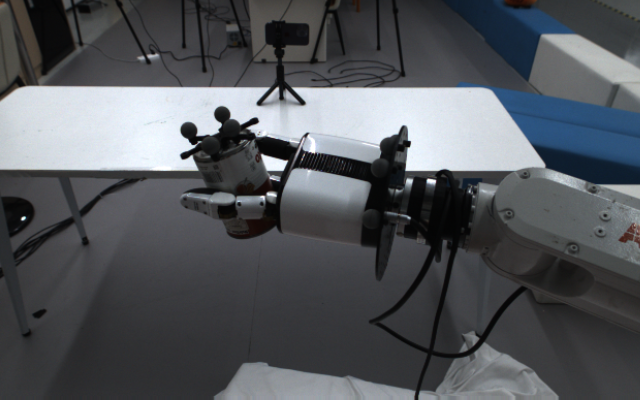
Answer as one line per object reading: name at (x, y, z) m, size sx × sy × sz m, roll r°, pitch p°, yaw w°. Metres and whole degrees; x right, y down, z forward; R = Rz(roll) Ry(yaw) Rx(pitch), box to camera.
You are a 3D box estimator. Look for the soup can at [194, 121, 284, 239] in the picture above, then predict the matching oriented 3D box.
soup can at (-0.086, -0.017, 0.526) m, size 0.067 × 0.101 × 0.067 m, roll -13°, pitch 31°, yaw 8°
